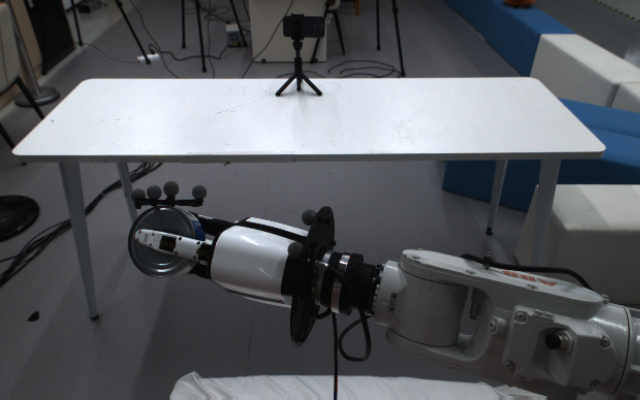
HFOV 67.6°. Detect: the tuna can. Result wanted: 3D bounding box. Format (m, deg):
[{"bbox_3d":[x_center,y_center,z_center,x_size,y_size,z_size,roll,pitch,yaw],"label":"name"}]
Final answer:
[{"bbox_3d":[-0.179,0.052,0.585,0.085,0.085,0.034,10,-6,11],"label":"tuna can"}]
